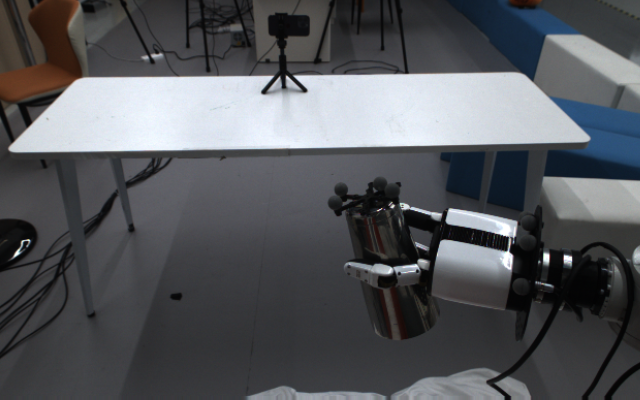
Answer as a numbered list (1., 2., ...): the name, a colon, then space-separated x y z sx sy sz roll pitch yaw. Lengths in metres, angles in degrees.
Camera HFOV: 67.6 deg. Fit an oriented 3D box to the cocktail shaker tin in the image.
1. cocktail shaker tin: 0.088 0.079 0.612 0.093 0.170 0.093 -17 20 7
